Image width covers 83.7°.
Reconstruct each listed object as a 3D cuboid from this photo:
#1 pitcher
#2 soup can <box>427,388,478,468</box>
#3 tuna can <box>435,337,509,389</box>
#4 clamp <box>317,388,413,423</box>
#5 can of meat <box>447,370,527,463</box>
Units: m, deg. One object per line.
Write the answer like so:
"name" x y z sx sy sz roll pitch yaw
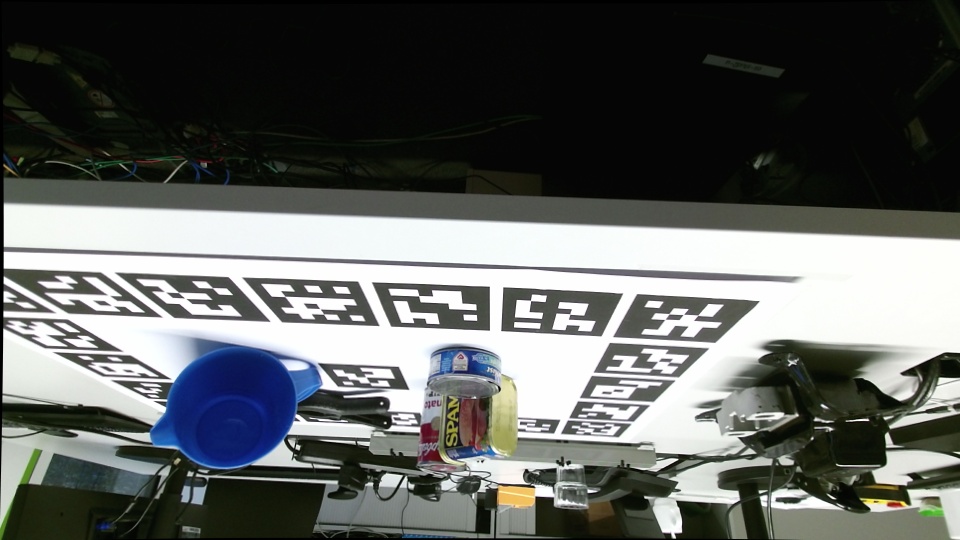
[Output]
"pitcher" -0.308 0.193 0.695 0.189 0.132 0.243 -7 162 -26
"soup can" -0.036 0.214 0.739 0.068 0.101 0.068 0 146 0
"tuna can" -0.008 0.109 0.628 0.086 0.033 0.086 2 146 2
"clamp" -0.190 0.205 0.817 0.166 0.036 0.122 6 152 3
"can of meat" 0.010 0.183 0.677 0.084 0.101 0.058 -23 139 30
